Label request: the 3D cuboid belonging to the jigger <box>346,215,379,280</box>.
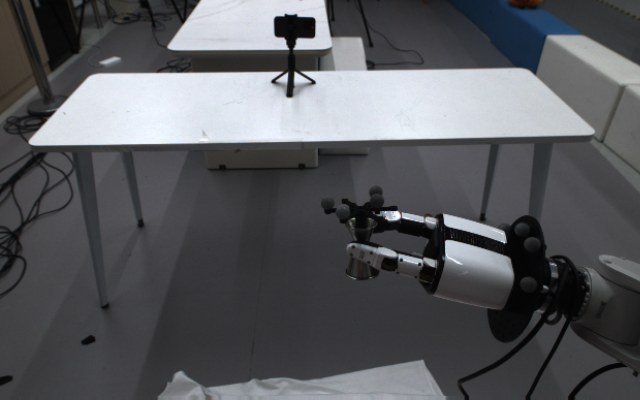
[{"bbox_3d":[0.052,0.059,0.606,0.043,0.071,0.043,-2,19,1],"label":"jigger"}]
